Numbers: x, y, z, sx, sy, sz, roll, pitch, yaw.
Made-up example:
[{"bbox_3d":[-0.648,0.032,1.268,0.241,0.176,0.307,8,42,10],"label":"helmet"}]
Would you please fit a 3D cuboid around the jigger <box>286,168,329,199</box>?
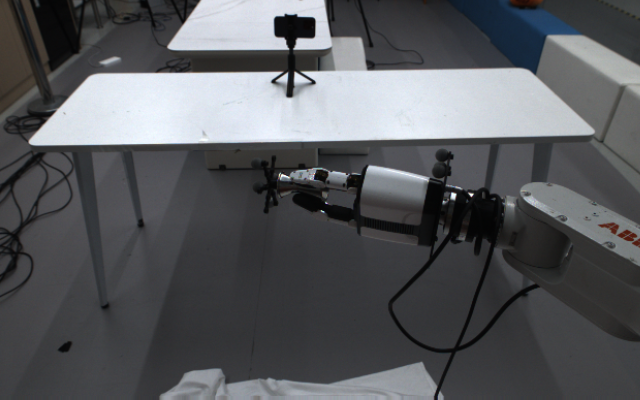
[{"bbox_3d":[-0.017,-0.024,0.704,0.071,0.043,0.043,3,34,14],"label":"jigger"}]
